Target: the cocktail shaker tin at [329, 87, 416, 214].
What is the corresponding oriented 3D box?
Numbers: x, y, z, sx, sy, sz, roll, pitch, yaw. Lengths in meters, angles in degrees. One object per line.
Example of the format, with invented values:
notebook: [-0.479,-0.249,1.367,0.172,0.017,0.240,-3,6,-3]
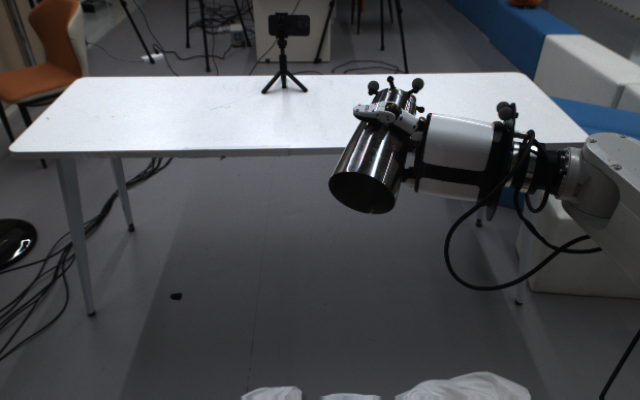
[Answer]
cocktail shaker tin: [0.081,-0.078,0.674,0.093,0.093,0.170,14,57,16]
